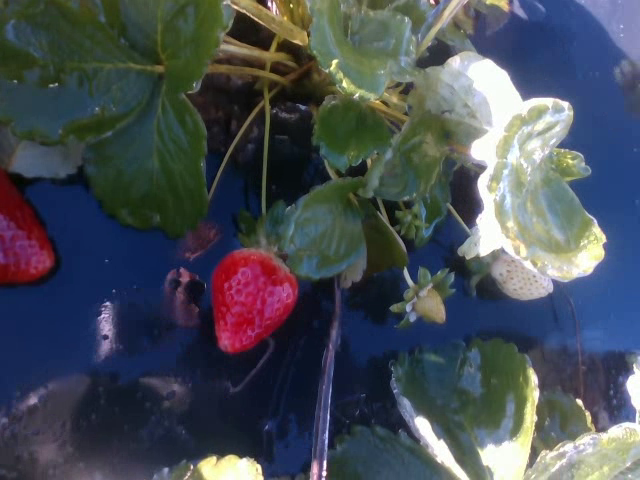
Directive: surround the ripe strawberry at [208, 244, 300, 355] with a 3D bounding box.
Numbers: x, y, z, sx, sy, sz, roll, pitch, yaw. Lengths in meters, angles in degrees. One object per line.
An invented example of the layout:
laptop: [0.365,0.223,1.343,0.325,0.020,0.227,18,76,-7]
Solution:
ripe strawberry: [-0.025,0.025,0.224,0.039,0.047,0.040,30,-15,-28]
